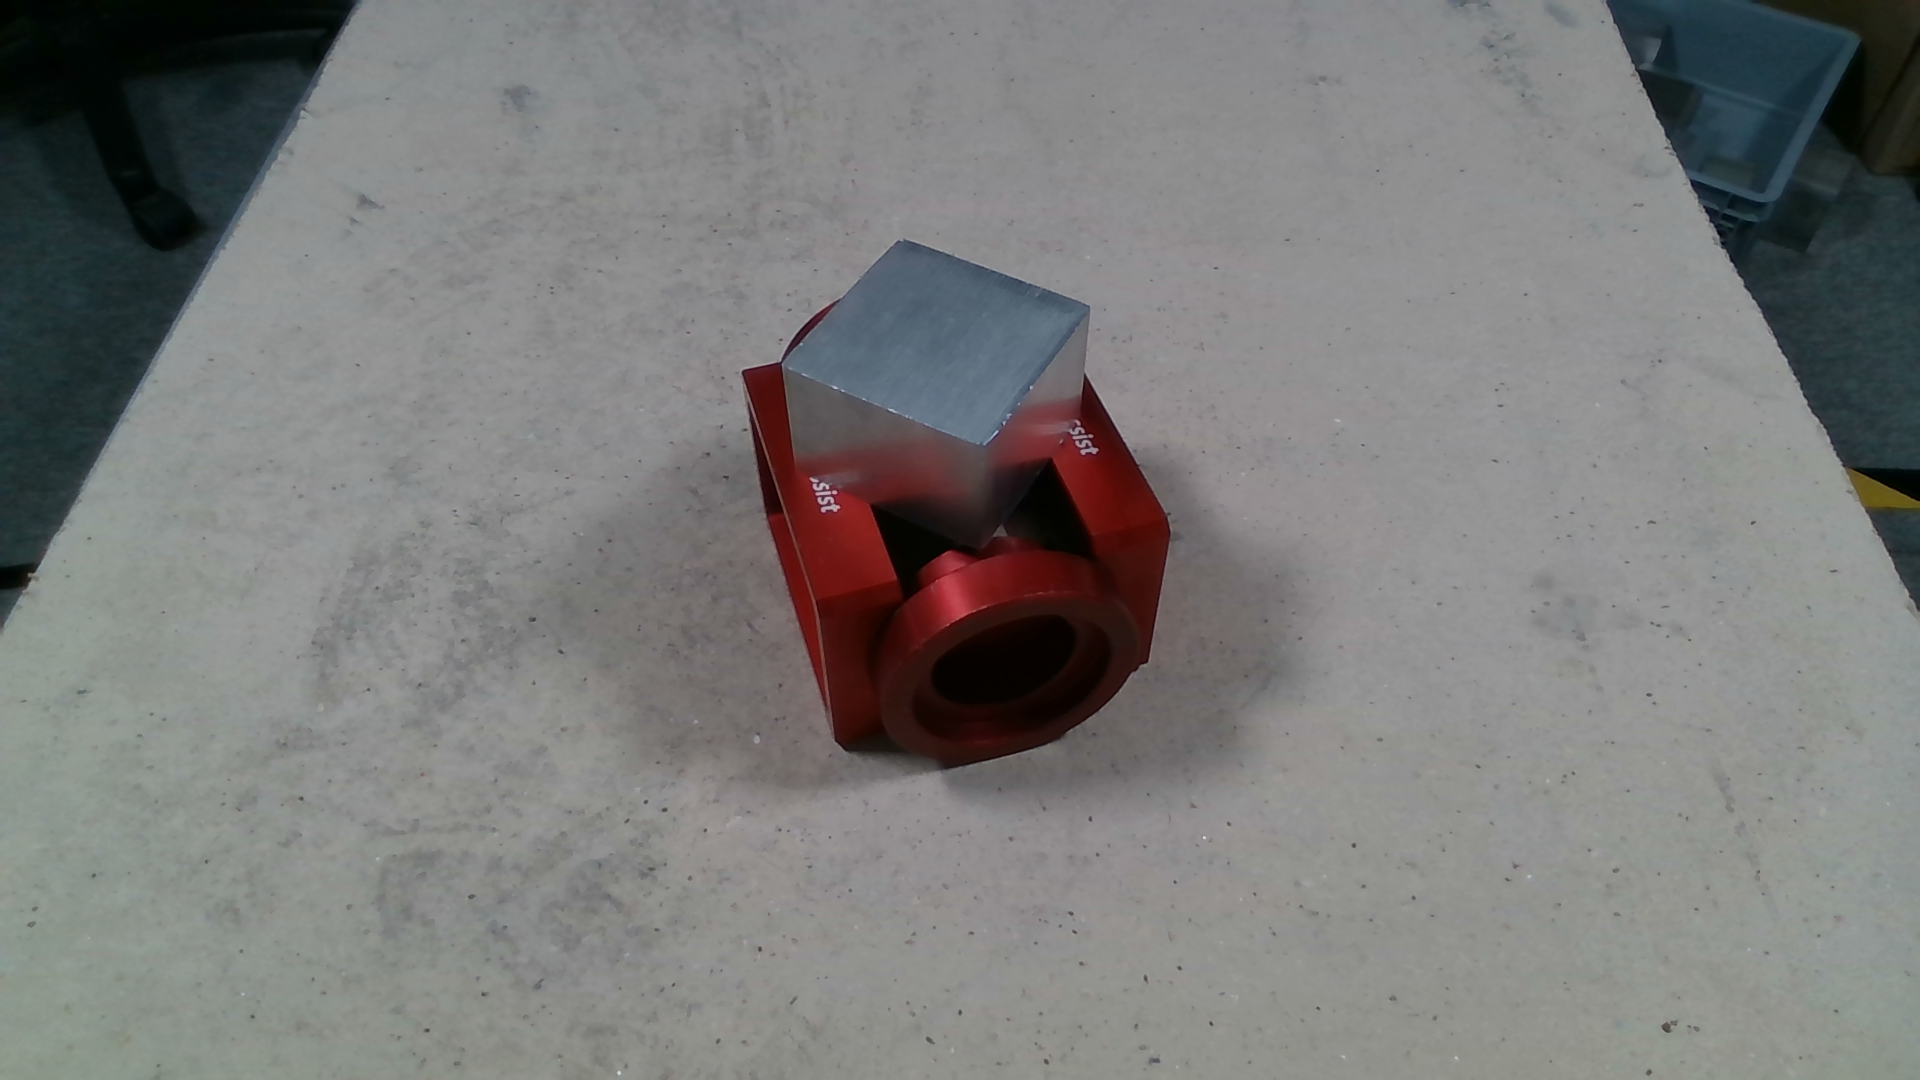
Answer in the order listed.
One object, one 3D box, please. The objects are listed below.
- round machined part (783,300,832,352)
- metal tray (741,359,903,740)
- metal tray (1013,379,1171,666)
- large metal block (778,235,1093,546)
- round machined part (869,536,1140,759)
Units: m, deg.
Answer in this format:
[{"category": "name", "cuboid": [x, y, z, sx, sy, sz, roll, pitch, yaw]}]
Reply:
[{"category": "round machined part", "cuboid": [-0.027, -0.060, 0.589, 0.098, 0.098, 0.042, -12, 51, -10]}, {"category": "metal tray", "cuboid": [-0.054, 0.001, 0.542, 0.030, 0.090, 0.130, -14, 52, -11]}, {"category": "metal tray", "cuboid": [0.042, -0.020, 0.562, 0.030, 0.090, 0.130, -14, 52, -12]}, {"category": "large metal block", "cuboid": [-0.007, -0.056, 0.497, 0.080, 0.050, 0.080, 23, 54, 18]}, {"category": "round machined part", "cuboid": [0.013, 0.036, 0.509, 0.098, 0.098, 0.042, -12, 51, -10]}]
